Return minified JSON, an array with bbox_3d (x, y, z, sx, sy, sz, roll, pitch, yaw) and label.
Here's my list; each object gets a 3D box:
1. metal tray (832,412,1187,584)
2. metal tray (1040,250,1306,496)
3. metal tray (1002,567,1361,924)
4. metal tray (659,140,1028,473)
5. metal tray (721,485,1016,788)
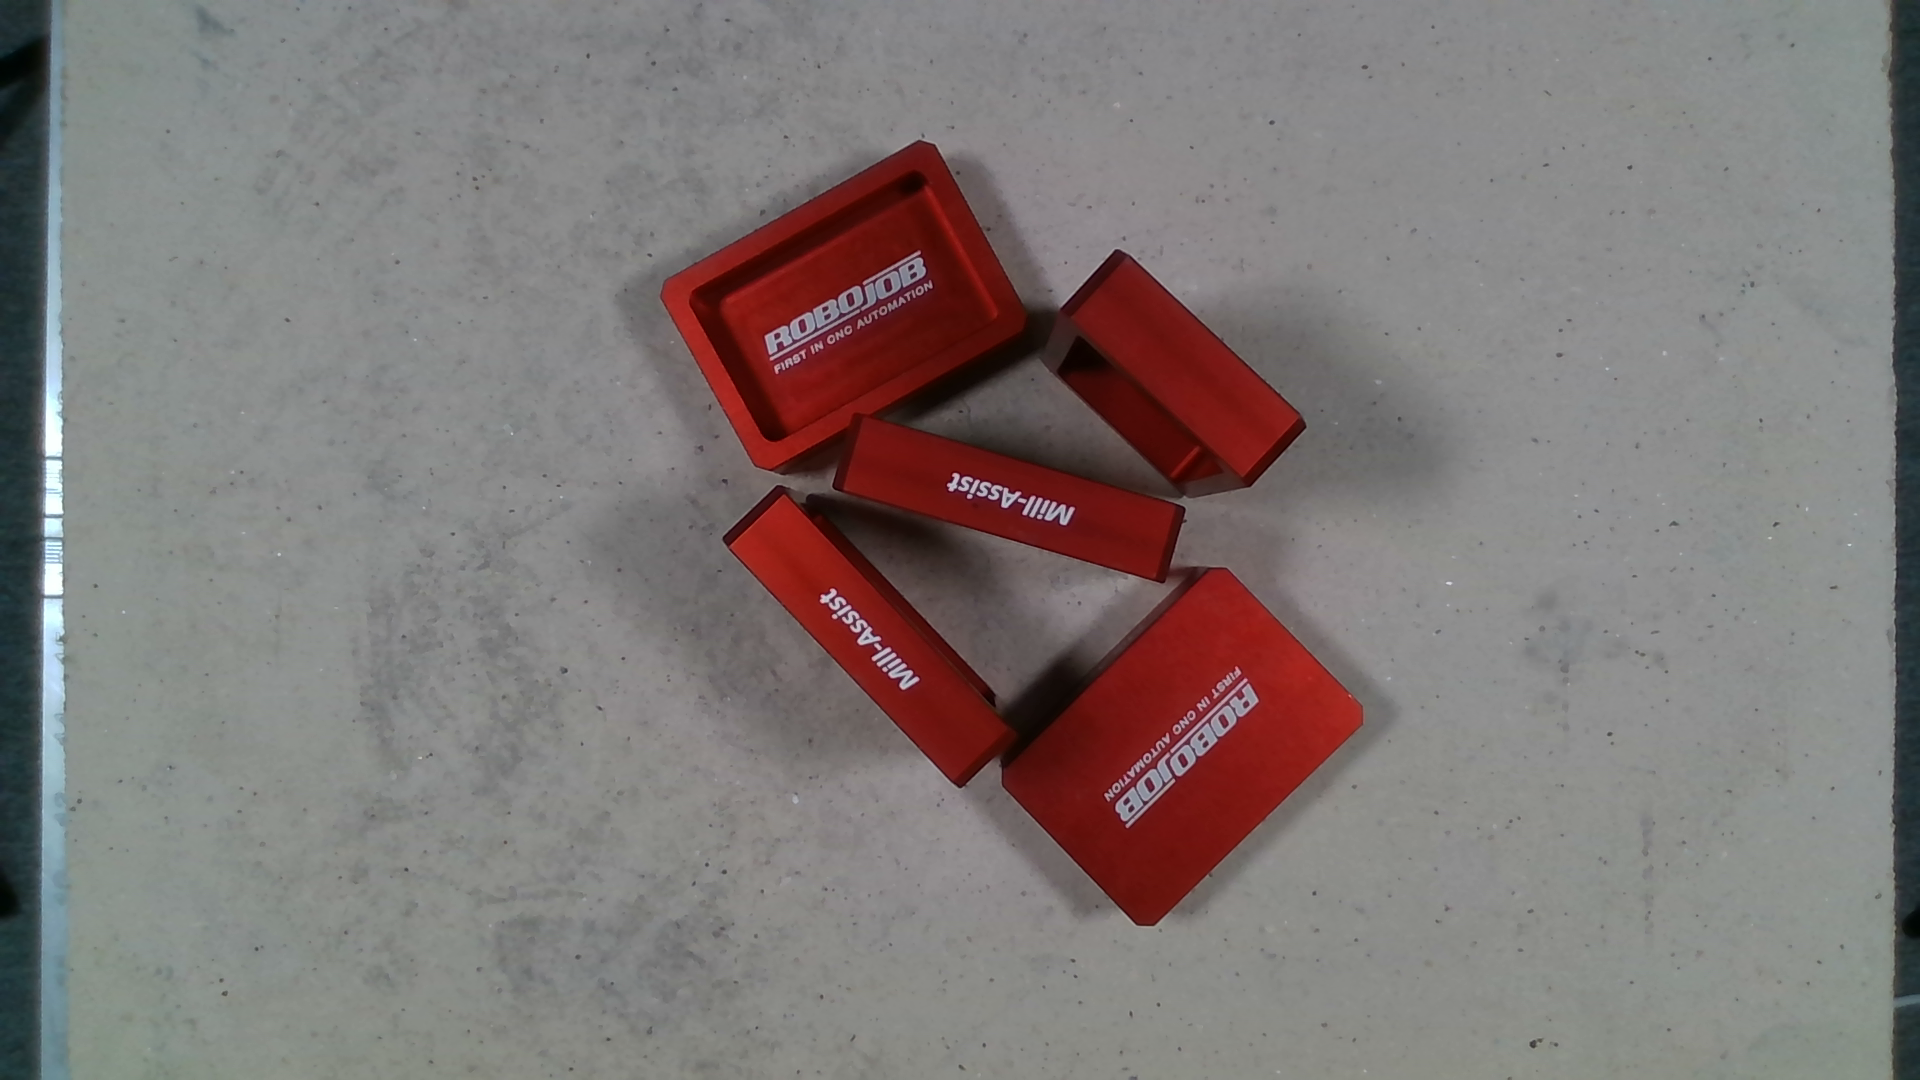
[{"bbox_3d":[0.018,-0.016,0.554,0.130,0.090,0.030,16,90,0],"label":"metal tray"},{"bbox_3d":[0.077,-0.059,0.534,0.090,0.130,0.030,43,90,0],"label":"metal tray"},{"bbox_3d":[0.092,0.085,0.585,0.130,0.030,0.090,-44,90,0],"label":"metal tray"},{"bbox_3d":[-0.048,-0.097,0.584,0.130,0.030,0.090,-29,90,0],"label":"metal tray"},{"bbox_3d":[-0.034,0.036,0.555,0.030,0.090,0.130,-44,90,0],"label":"metal tray"}]
